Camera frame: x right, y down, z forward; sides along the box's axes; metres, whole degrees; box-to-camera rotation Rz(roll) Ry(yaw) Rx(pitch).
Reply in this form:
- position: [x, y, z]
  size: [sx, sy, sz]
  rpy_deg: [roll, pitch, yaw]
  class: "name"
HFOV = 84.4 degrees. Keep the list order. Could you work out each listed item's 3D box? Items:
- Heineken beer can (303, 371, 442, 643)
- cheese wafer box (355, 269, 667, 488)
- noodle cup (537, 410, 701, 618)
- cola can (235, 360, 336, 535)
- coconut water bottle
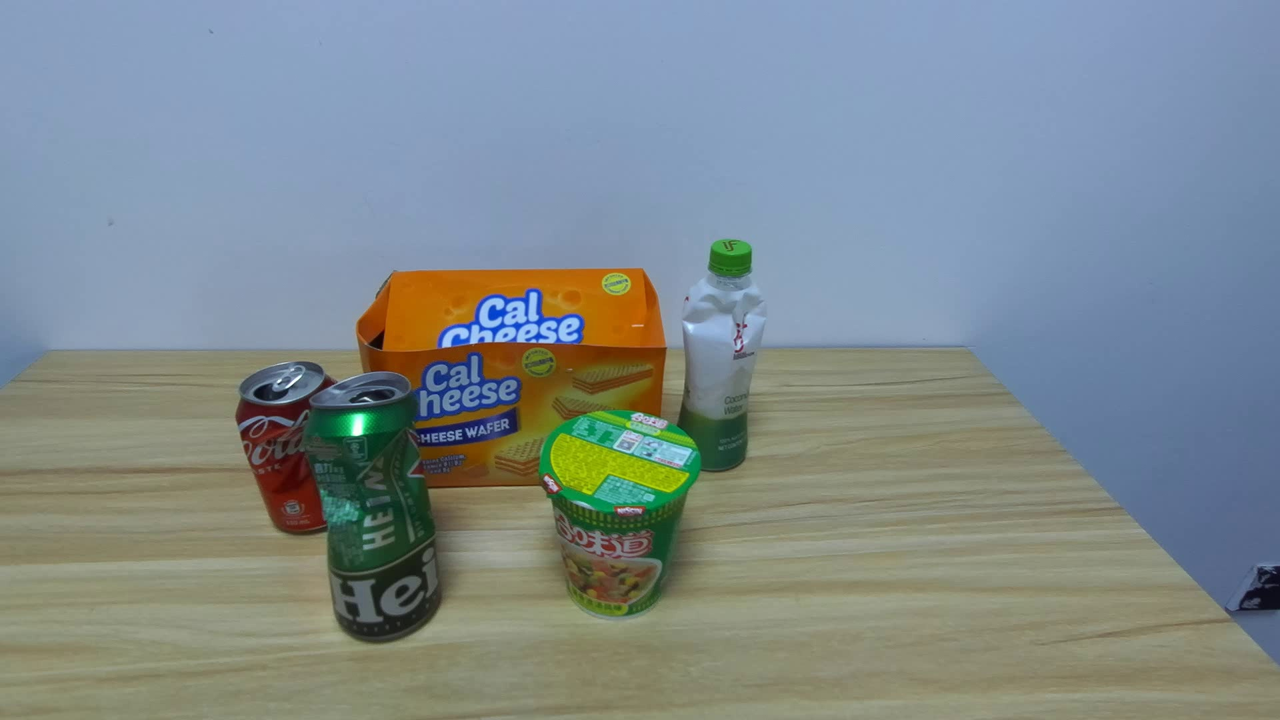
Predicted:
- position: [-0.157, 0.091, 0.423]
  size: [0.067, 0.159, 0.078]
  rpy_deg: [-12, 25, -30]
  class: "Heineken beer can"
- position: [-0.101, 0.012, 0.591]
  size: [0.231, 0.132, 0.152]
  rpy_deg: [-1, 32, -5]
  class: "cheese wafer box"
- position: [-0.016, 0.104, 0.457]
  size: [0.097, 0.110, 0.097]
  rpy_deg: [2, 32, -1]
  class: "noodle cup"
- position: [-0.237, 0.061, 0.498]
  size: [0.066, 0.117, 0.066]
  rpy_deg: [-5, 30, -11]
  class: "cola can"
- position: [0.065, -0.002, 0.562]
  size: [0.069, 0.186, 0.069]
  rpy_deg: [3, 30, -1]
  class: "coconut water bottle"
